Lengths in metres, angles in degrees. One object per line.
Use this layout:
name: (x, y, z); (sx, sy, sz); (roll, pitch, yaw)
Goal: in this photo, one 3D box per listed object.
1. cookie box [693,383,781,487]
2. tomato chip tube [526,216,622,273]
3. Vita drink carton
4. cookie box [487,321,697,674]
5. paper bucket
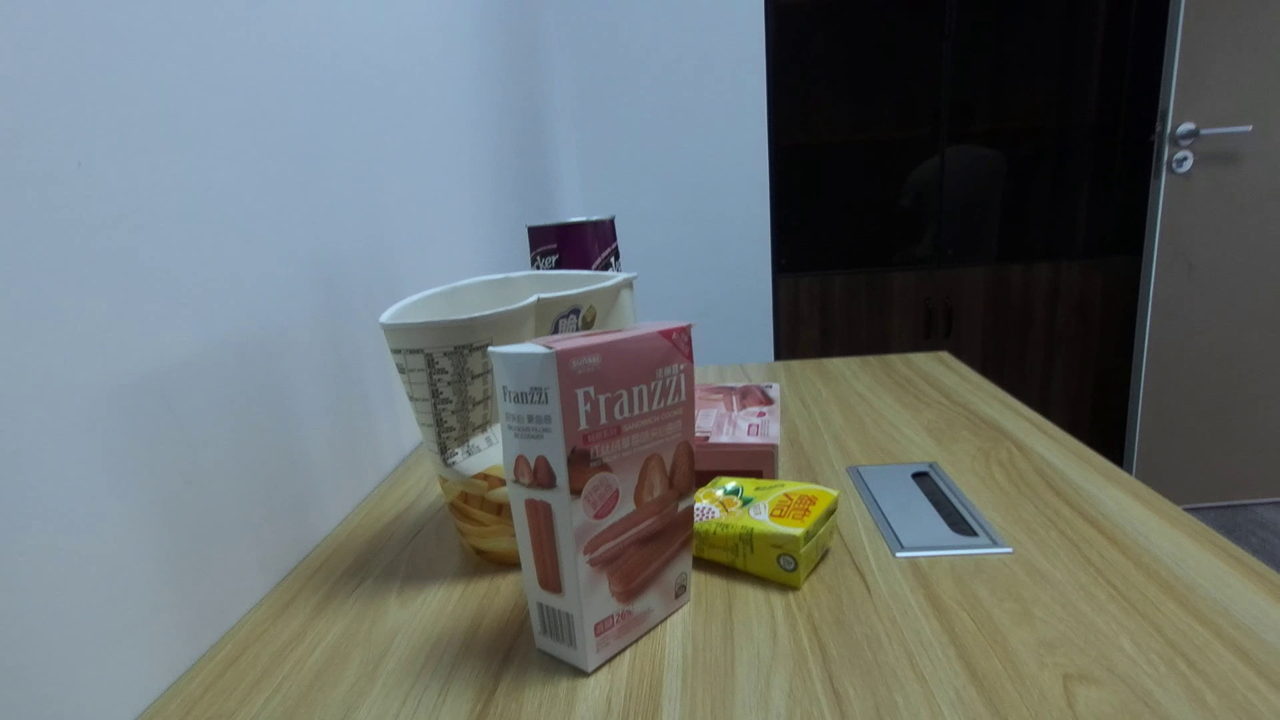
cookie box: (0.088, 0.070, 0.684); (0.096, 0.048, 0.184); (-1, 14, 11)
tomato chip tube: (-0.057, -0.025, 0.725); (0.077, 0.235, 0.076); (0, 14, 20)
Vita drink carton: (0.081, 0.119, 0.506); (0.108, 0.042, 0.087); (3, 21, 40)
cookie box: (-0.017, 0.074, 0.420); (0.119, 0.184, 0.055); (-15, 17, -39)
paper bucket: (-0.077, 0.034, 0.561); (0.147, 0.199, 0.218); (-3, 15, 13)
